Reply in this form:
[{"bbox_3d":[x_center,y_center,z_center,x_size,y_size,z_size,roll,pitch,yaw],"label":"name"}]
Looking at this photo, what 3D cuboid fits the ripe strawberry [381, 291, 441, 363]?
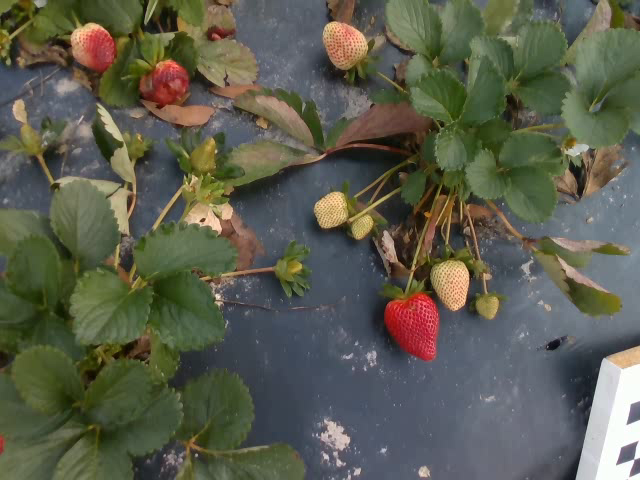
[{"bbox_3d":[0.075,0.067,0.480,0.050,0.059,0.033,-20,-22,-14],"label":"ripe strawberry"}]
